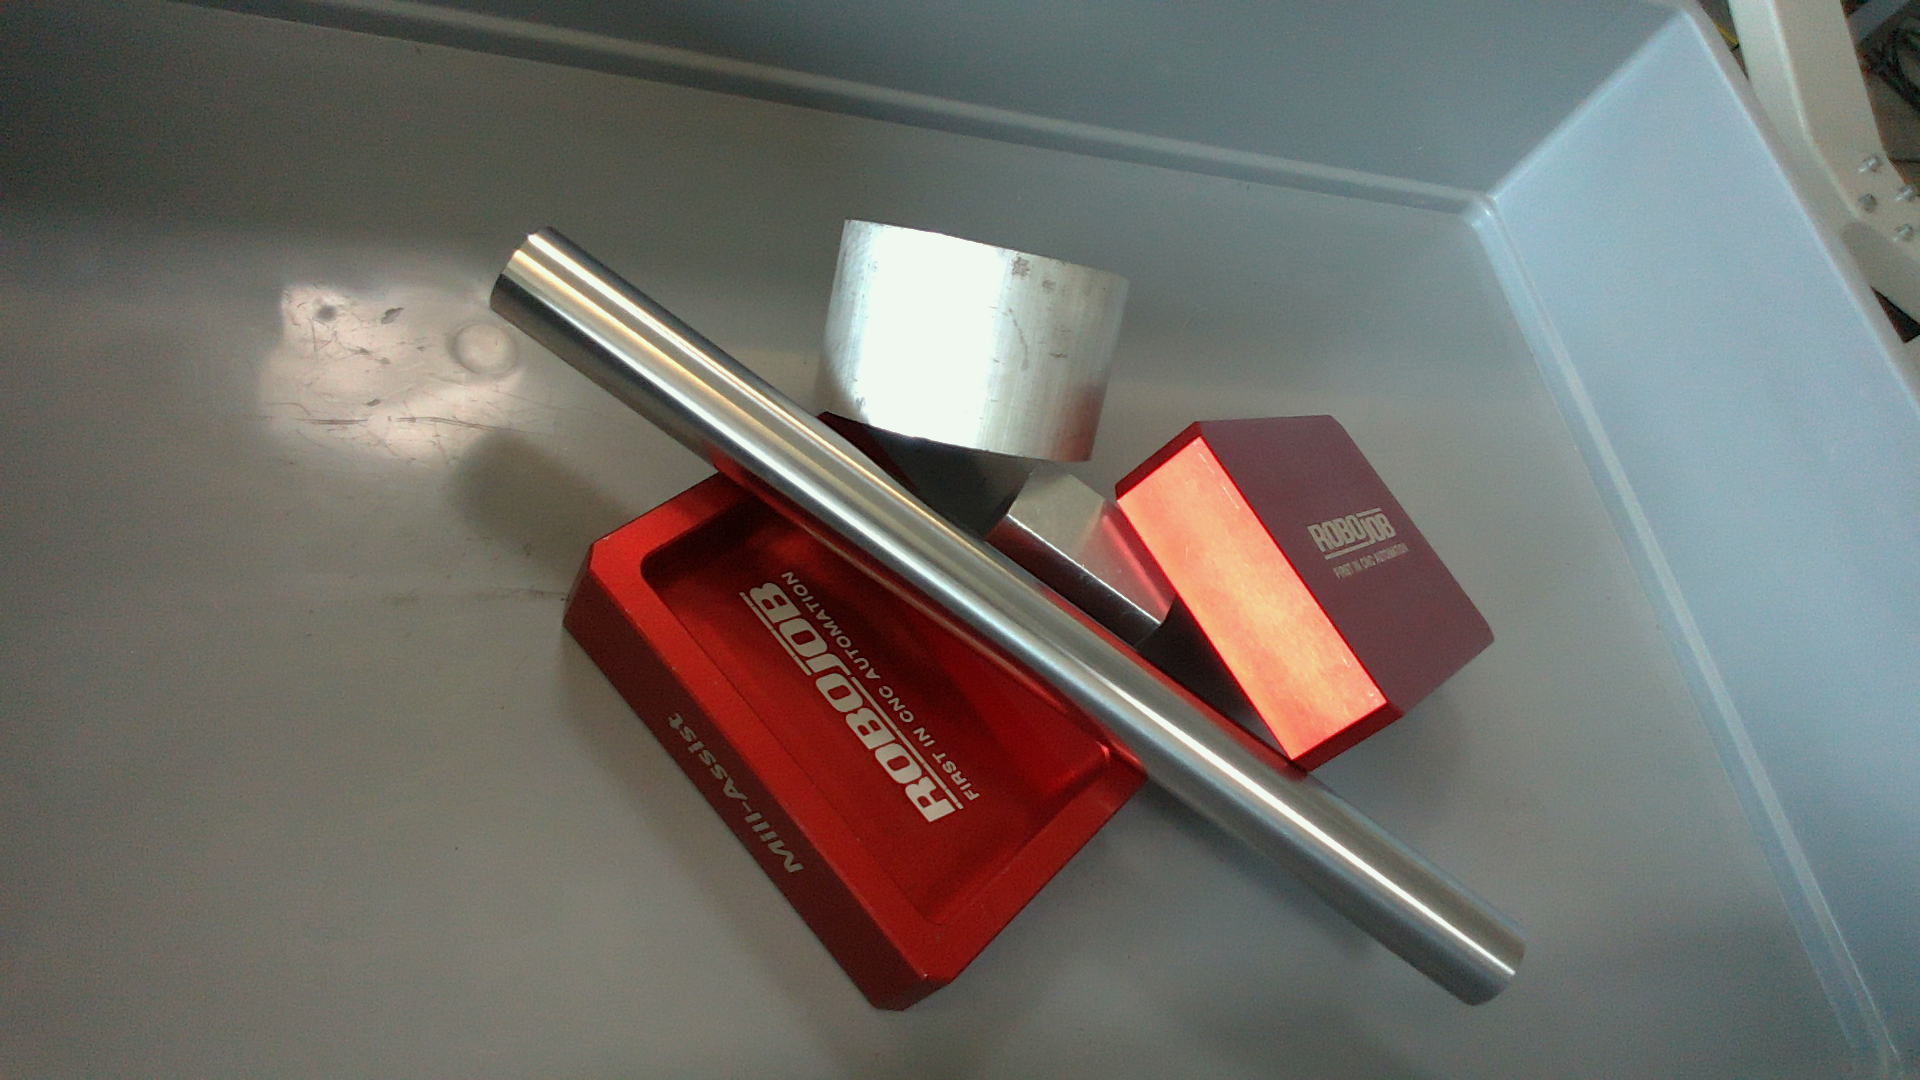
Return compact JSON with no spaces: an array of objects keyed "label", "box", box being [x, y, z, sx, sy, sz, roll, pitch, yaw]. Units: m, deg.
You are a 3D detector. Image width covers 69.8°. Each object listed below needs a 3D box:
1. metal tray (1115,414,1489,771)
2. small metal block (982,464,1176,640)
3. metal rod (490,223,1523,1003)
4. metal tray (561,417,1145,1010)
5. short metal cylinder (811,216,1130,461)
[{"label":"metal tray","box":[0.105,0.008,0.404,0.090,0.030,0.130,57,28,13]},{"label":"small metal block","box":[0.027,0.011,0.379,0.050,0.050,0.025,35,51,-5]},{"label":"metal rod","box":[0.016,0.021,0.345,0.300,0.025,0.025,36,51,-5]},{"label":"metal tray","box":[-0.024,0.038,0.348,0.130,0.030,0.090,49,51,6]},{"label":"short metal cylinder","box":[0.002,-0.055,0.380,0.080,0.080,0.050,8,100,-24]}]
